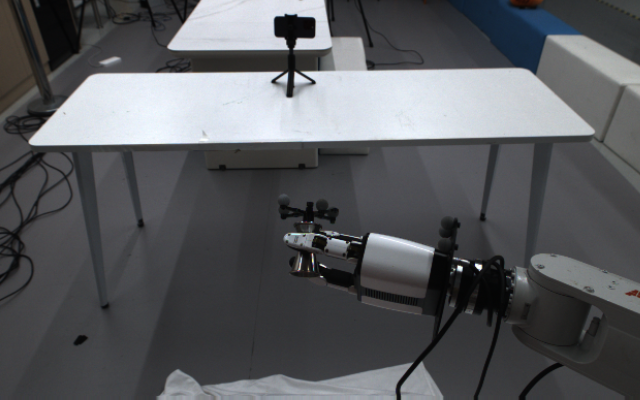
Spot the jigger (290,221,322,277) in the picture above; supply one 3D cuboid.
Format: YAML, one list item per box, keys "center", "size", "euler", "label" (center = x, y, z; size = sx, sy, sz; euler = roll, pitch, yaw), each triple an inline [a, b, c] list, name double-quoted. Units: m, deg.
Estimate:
- center: [-0.019, 0.065, 0.649]
  size: [0.043, 0.043, 0.071]
  euler: [3, 72, 1]
  label: "jigger"
